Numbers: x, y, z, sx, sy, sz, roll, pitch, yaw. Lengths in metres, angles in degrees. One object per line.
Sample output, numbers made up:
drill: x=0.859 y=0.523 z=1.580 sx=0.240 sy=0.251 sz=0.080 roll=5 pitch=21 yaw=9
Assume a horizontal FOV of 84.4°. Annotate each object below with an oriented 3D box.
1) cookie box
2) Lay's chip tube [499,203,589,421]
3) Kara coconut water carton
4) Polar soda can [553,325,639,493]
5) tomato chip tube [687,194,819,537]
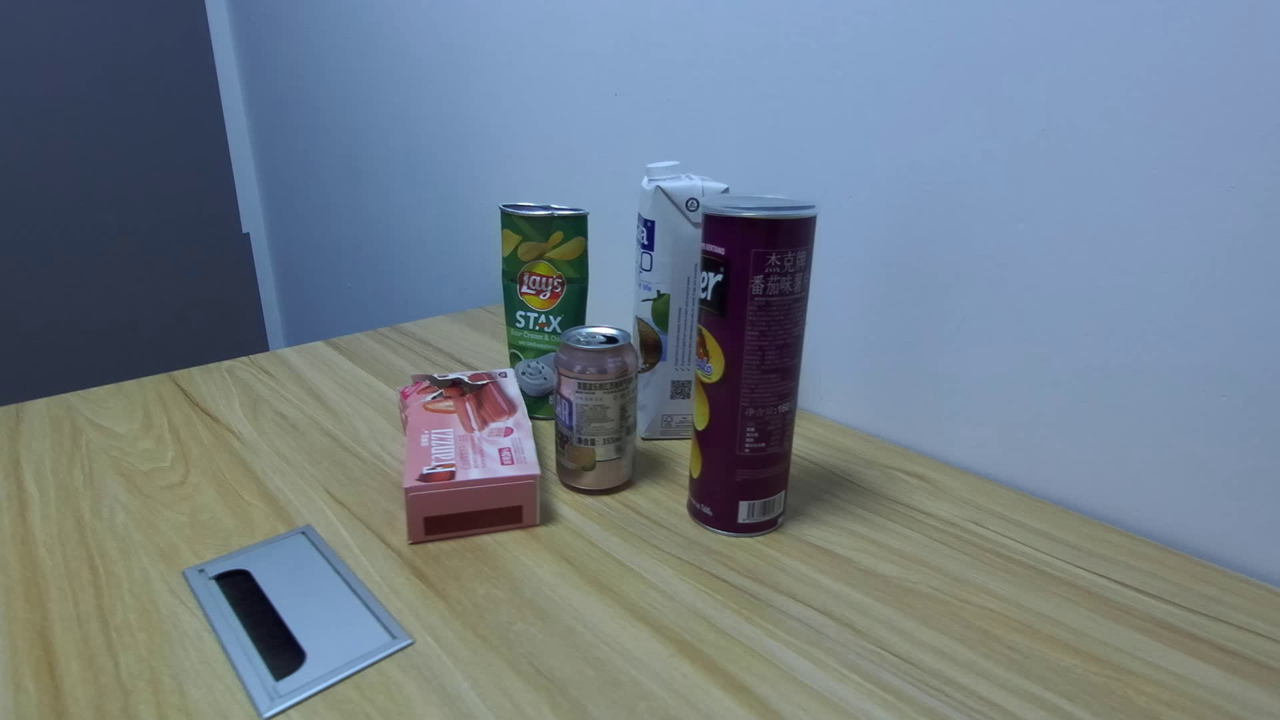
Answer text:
cookie box: x=-0.142 y=0.068 z=0.580 sx=0.105 sy=0.059 sz=0.185 roll=-7 pitch=23 yaw=-16
Lay's chip tube: x=-0.090 y=-0.045 z=0.679 sx=0.075 sy=0.199 sz=0.068 roll=-4 pitch=18 yaw=-17
Kara coconut water carton: x=0.034 y=-0.052 z=0.639 sx=0.075 sy=0.245 sz=0.077 roll=1 pitch=21 yaw=-7
Polar soda can: x=-0.035 y=0.039 z=0.572 sx=0.067 sy=0.125 sz=0.067 roll=1 pitch=20 yaw=0
tomato chip tube: x=0.078 y=0.007 z=0.504 sx=0.078 sy=0.234 sz=0.078 roll=1 pitch=21 yaw=0
